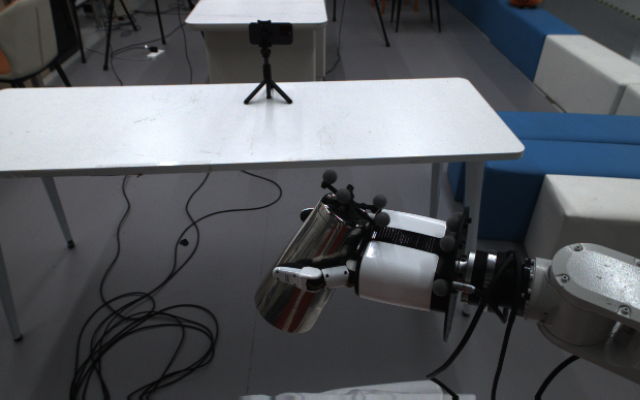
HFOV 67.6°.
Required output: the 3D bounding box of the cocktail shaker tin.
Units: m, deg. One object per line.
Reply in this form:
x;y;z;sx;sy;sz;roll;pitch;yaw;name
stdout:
-0.005;0.072;0.612;0.093;0.170;0.093;25;29;-15;cocktail shaker tin
